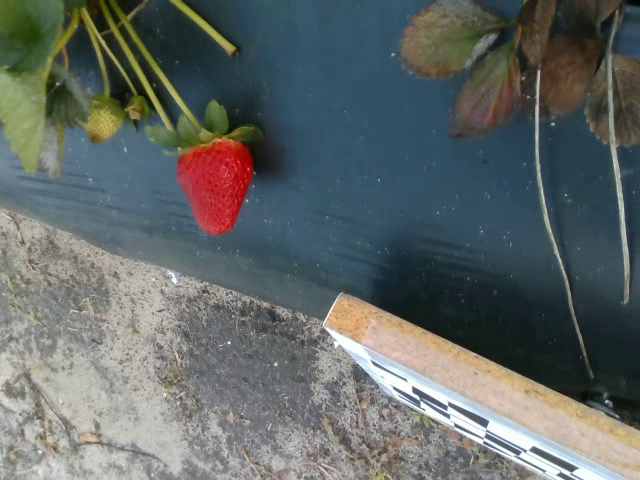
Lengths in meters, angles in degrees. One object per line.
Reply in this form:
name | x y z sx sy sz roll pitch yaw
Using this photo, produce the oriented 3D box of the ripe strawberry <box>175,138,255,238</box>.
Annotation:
ripe strawberry | -0.053 -0.026 0.300 0.042 0.055 0.045 5 -1 -21
